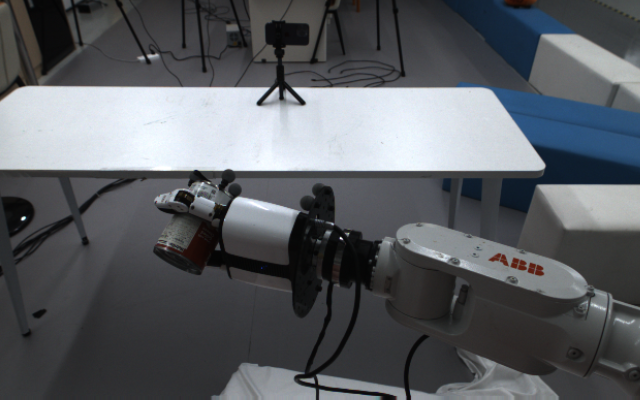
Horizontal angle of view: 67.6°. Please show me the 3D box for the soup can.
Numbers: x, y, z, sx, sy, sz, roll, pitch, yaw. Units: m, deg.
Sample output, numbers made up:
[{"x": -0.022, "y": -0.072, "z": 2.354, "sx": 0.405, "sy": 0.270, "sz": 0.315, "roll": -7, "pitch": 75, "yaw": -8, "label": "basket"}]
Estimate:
[{"x": -0.155, "y": 0.035, "z": 0.612, "sx": 0.067, "sy": 0.067, "sz": 0.101, "roll": 15, "pitch": 63, "yaw": 18, "label": "soup can"}]
